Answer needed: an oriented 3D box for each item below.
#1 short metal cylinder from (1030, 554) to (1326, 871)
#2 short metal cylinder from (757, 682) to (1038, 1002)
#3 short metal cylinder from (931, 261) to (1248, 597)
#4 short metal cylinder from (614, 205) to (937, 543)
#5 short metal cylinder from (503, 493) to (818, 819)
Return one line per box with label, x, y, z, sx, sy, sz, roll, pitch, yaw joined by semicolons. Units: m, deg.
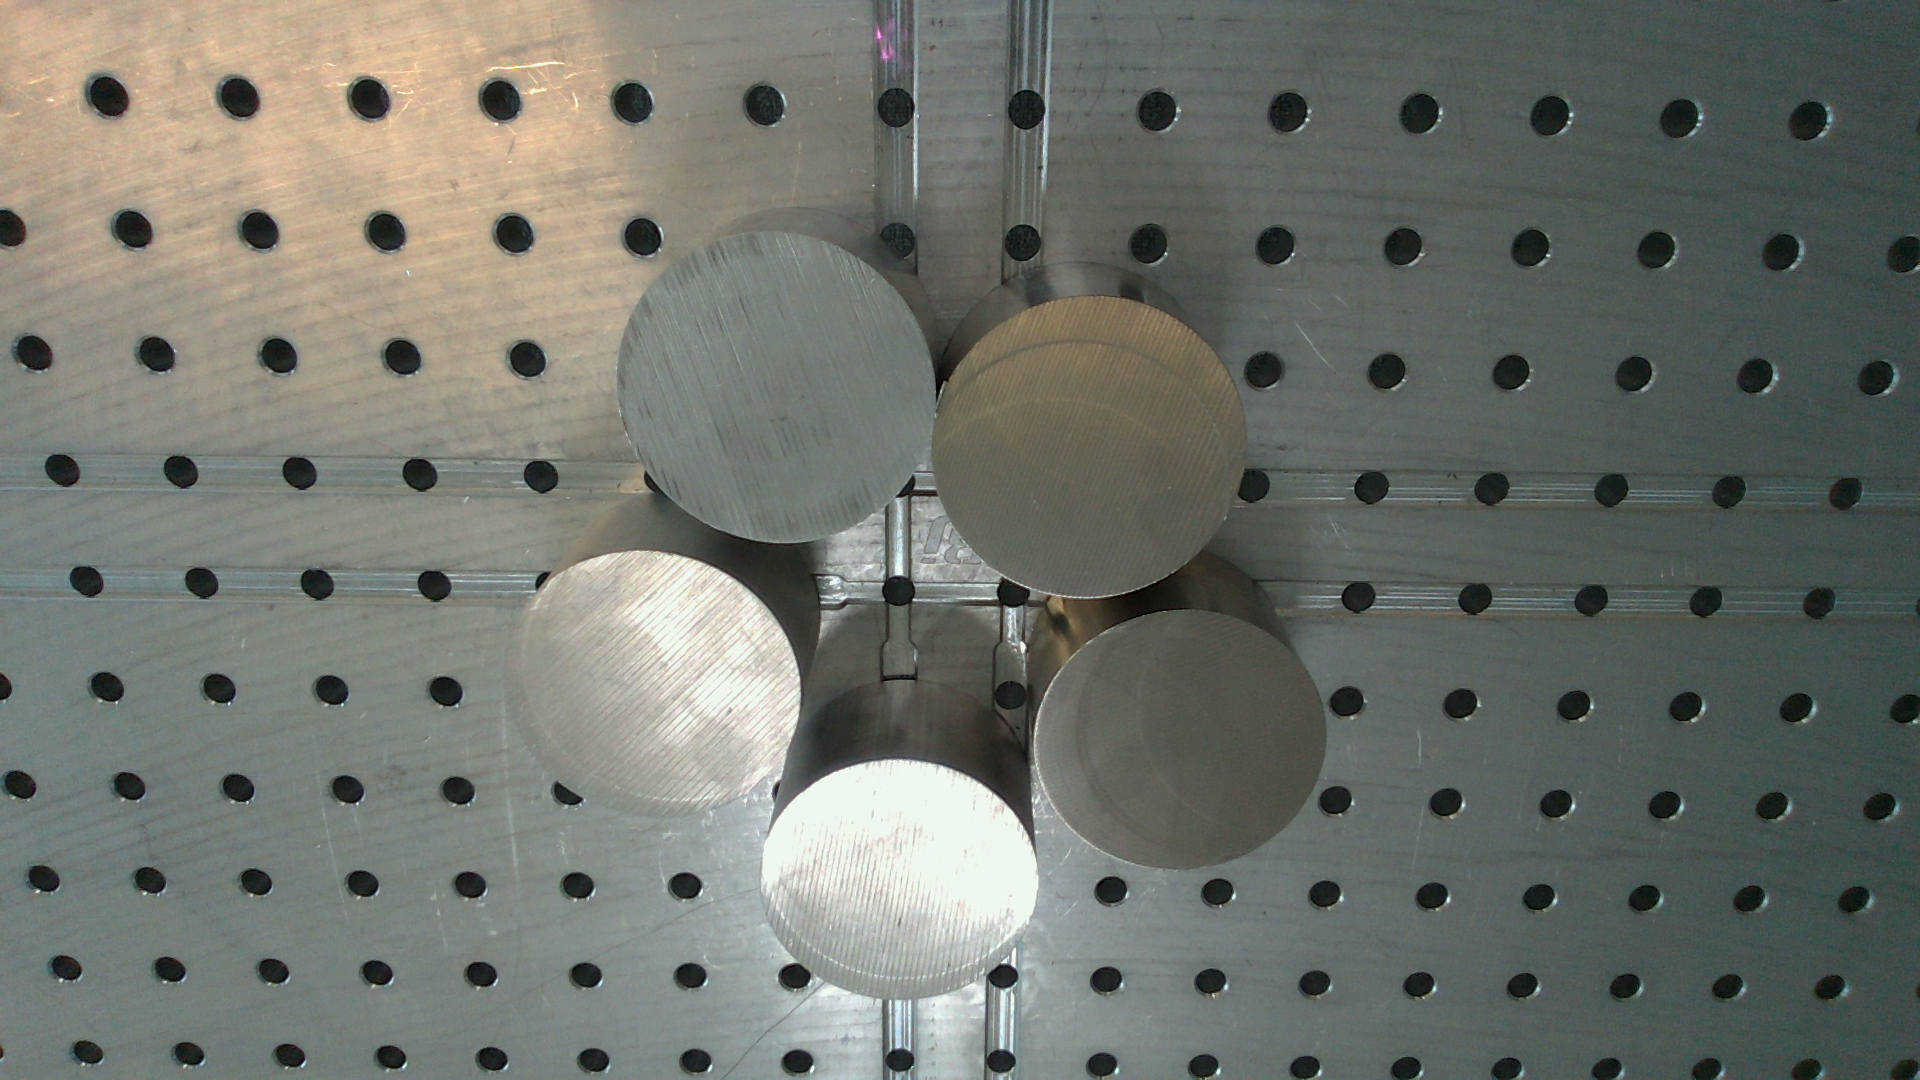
short metal cylinder;0.060;0.048;0.400;0.080;0.050;0.080;0;111;0
short metal cylinder;-0.017;0.090;0.415;0.080;0.050;0.080;0;110;1
short metal cylinder;0.033;-0.031;0.371;0.080;0.050;0.080;0;110;0
short metal cylinder;-0.046;-0.045;0.366;0.080;0.050;0.080;0;110;0
short metal cylinder;-0.083;0.032;0.394;0.080;0.050;0.080;0;111;0
